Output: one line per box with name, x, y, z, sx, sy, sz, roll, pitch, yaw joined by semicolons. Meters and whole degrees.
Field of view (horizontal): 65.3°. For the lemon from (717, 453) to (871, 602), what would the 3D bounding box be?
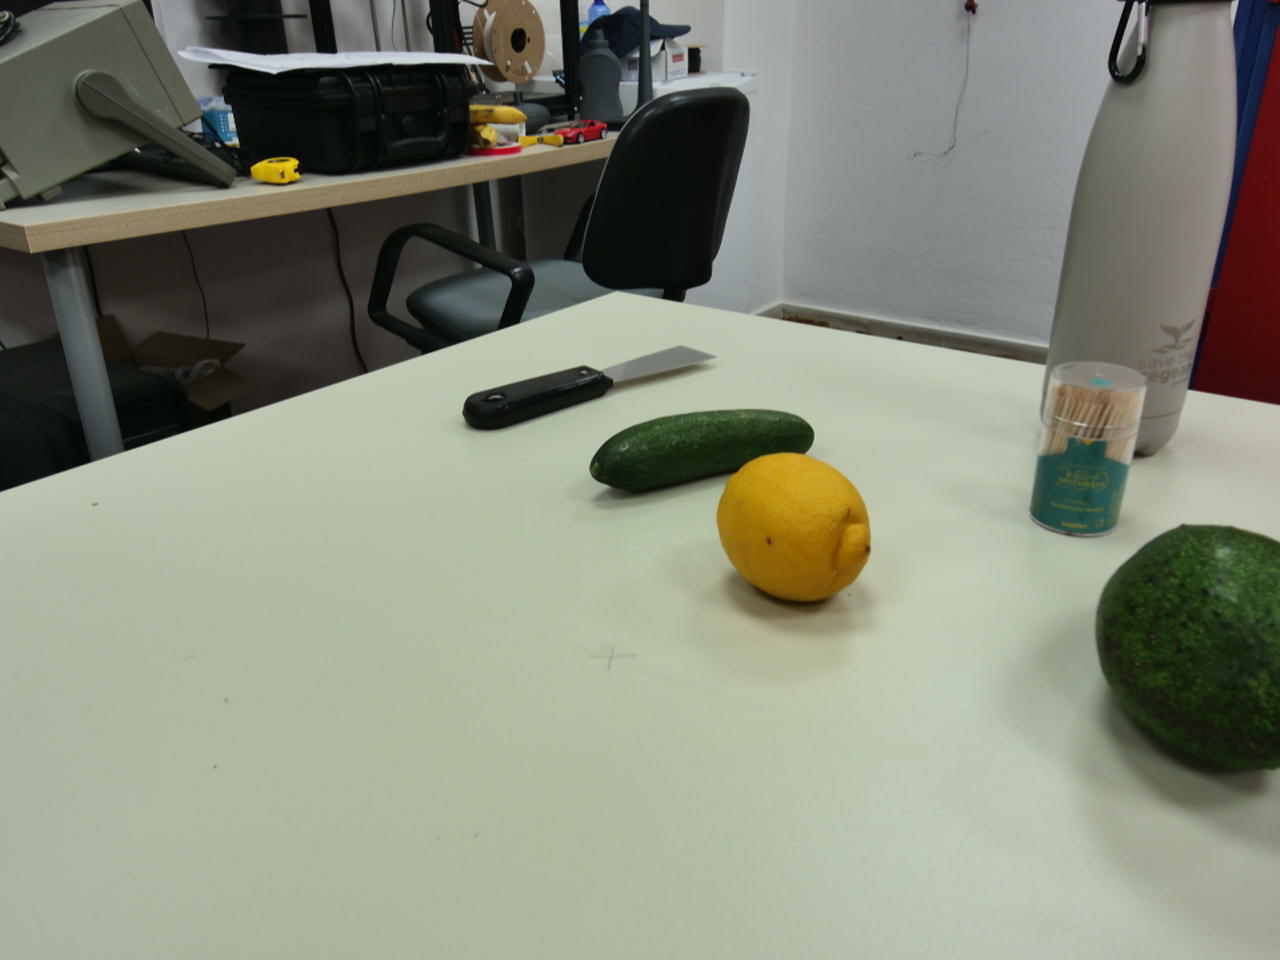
lemon;0.064;0.020;0.420;0.061;0.059;0.067;-4;23;-8
